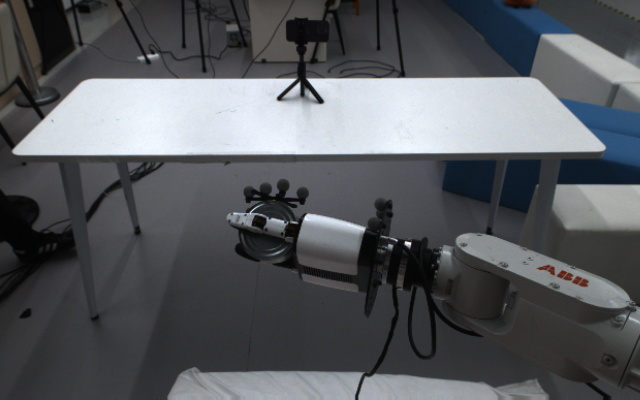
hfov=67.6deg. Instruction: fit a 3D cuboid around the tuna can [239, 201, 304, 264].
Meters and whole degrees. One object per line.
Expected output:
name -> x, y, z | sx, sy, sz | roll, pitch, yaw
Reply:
tuna can -> -0.068, 0.046, 0.678 | 0.085, 0.034, 0.085 | -3, 73, 10
